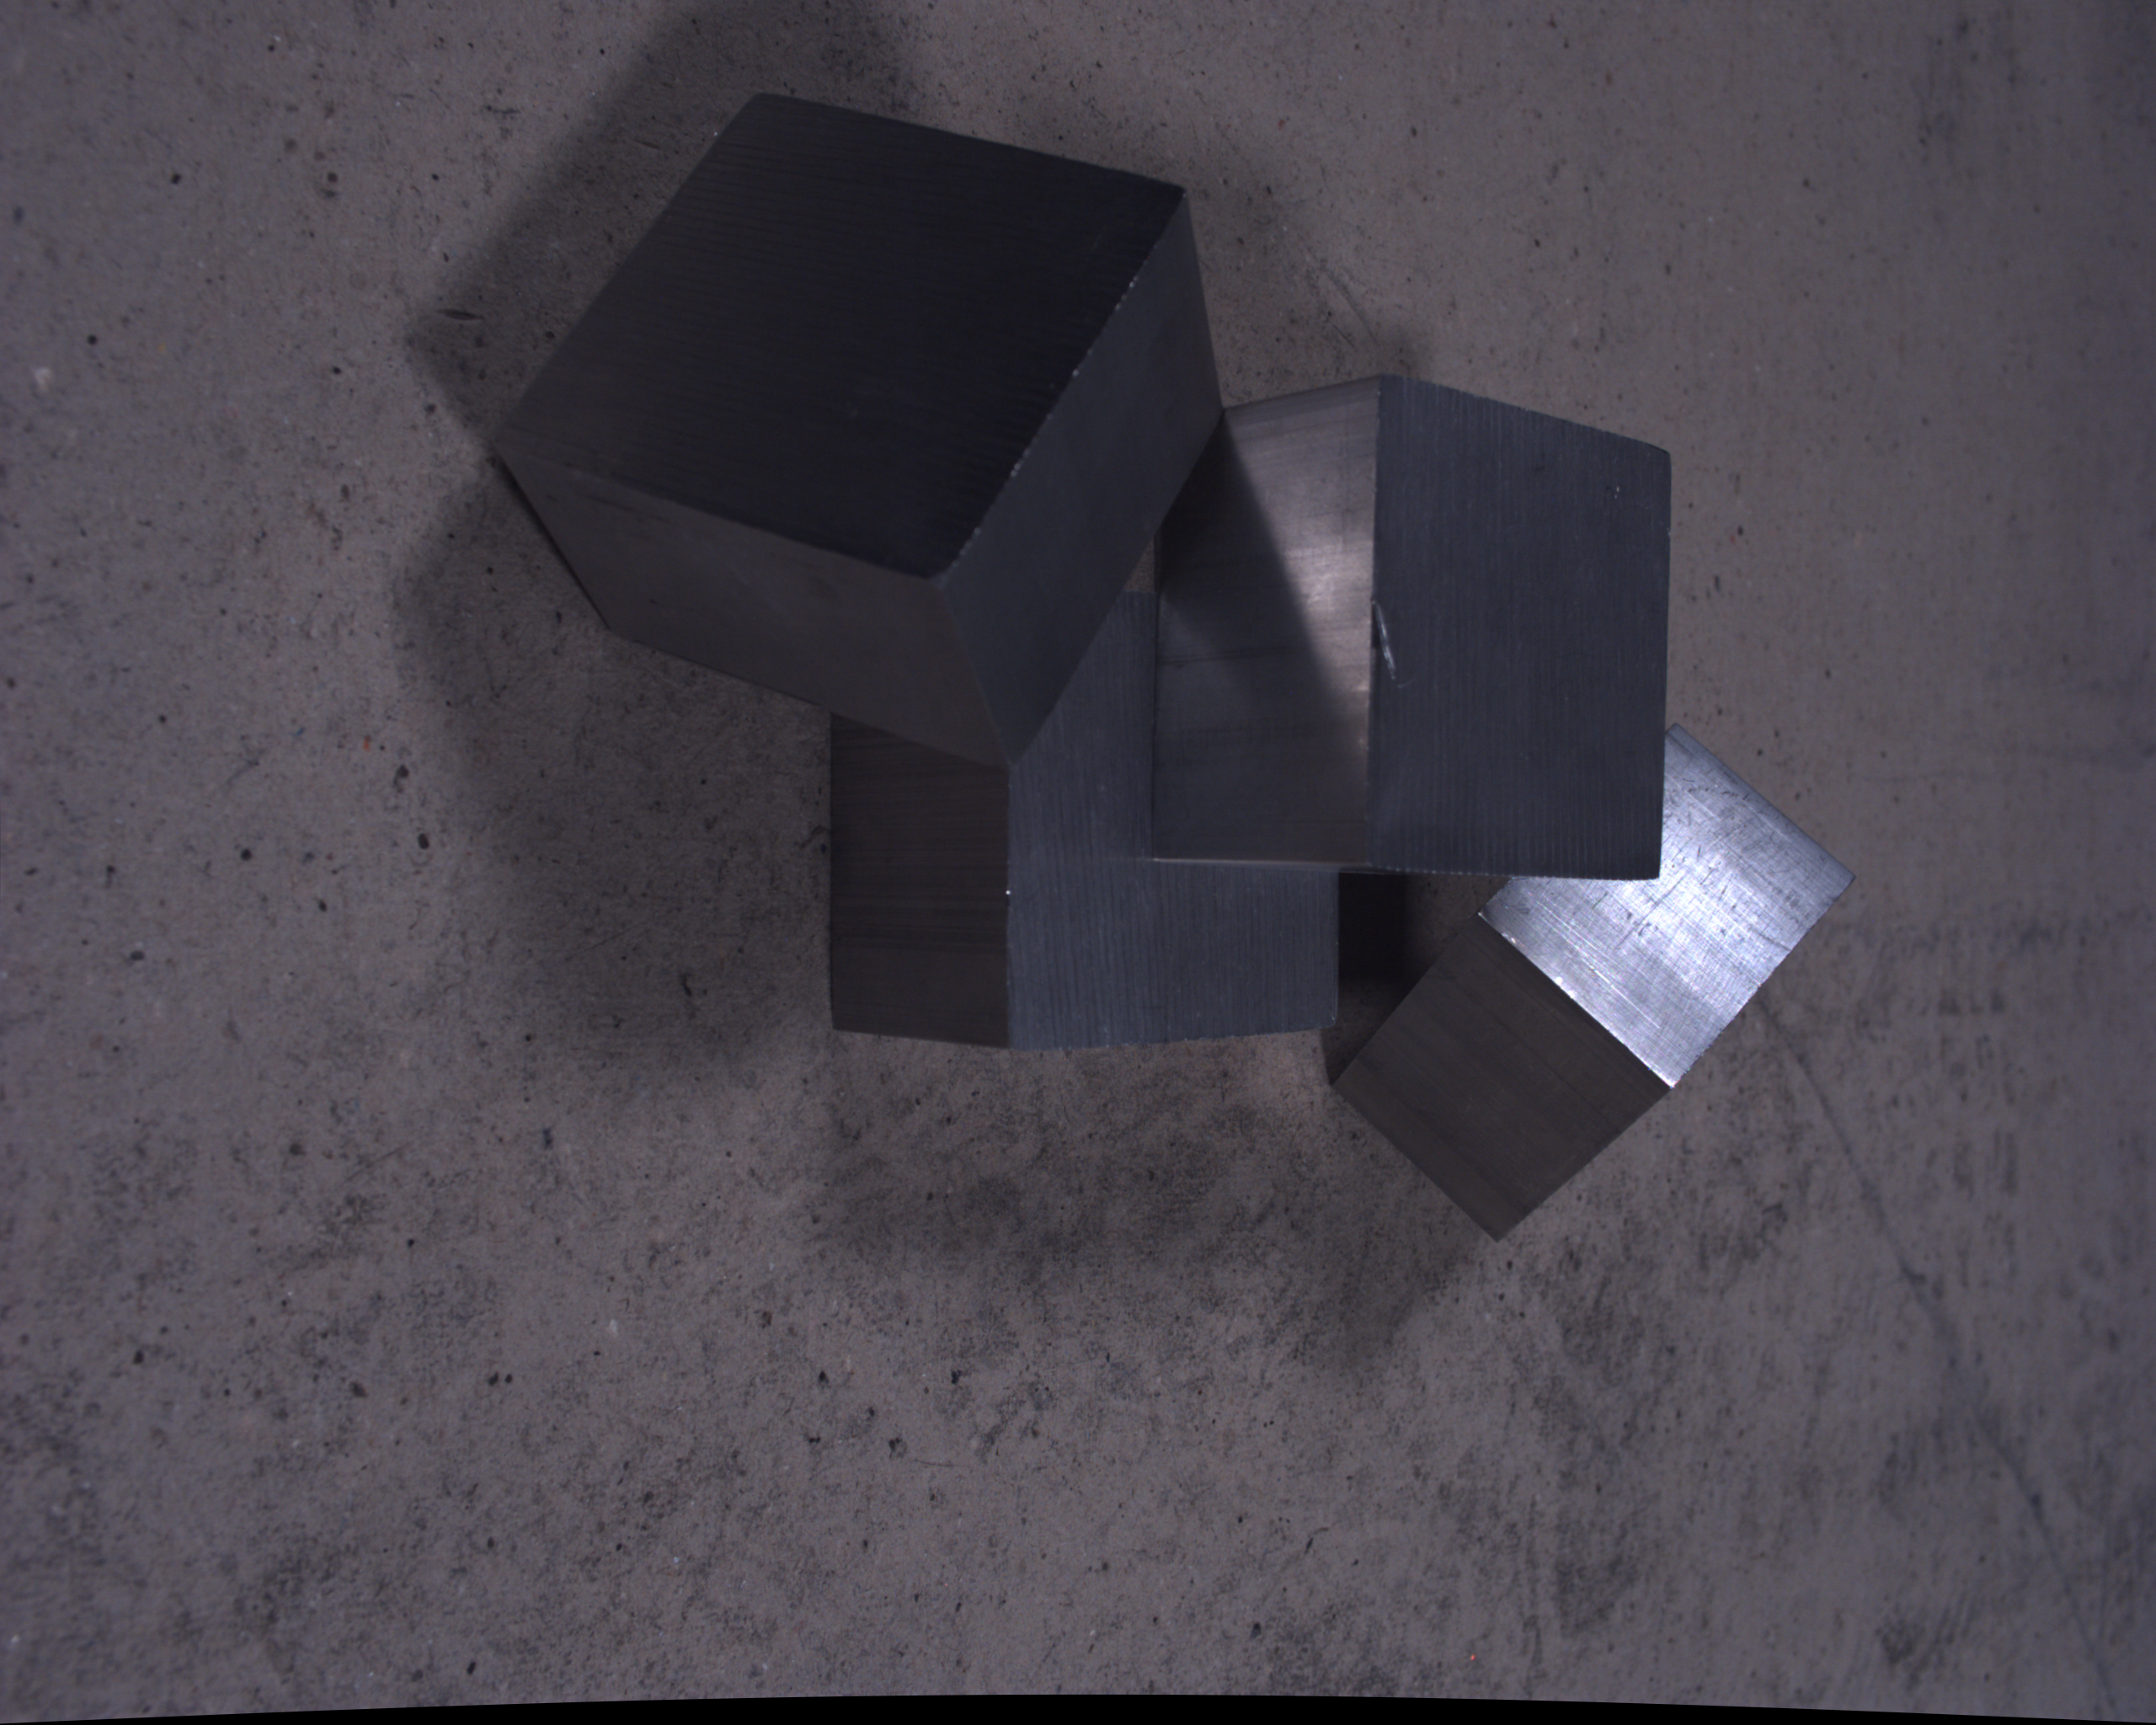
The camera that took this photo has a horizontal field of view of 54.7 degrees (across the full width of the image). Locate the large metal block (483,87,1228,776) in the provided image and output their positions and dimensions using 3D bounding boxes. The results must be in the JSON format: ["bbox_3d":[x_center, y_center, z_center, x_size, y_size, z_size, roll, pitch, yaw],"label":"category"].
[{"bbox_3d":[-0.032,-0.071,0.336,0.080,0.080,0.050,-61,158,-22],"label":"large metal block"}]

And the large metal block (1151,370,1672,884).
[{"bbox_3d":[0.061,-0.037,0.375,0.081,0.050,0.079,3,88,-40],"label":"large metal block"}]

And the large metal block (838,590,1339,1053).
[{"bbox_3d":[0.003,-0.008,0.392,0.081,0.050,0.079,0,90,-40],"label":"large metal block"}]

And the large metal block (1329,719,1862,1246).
[{"bbox_3d":[0.112,0.027,0.458,0.050,0.080,0.080,44,56,12],"label":"large metal block"}]

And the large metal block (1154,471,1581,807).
[{"bbox_3d":[0.063,-0.049,0.446,0.081,0.050,0.079,0,90,-40],"label":"large metal block"}]
